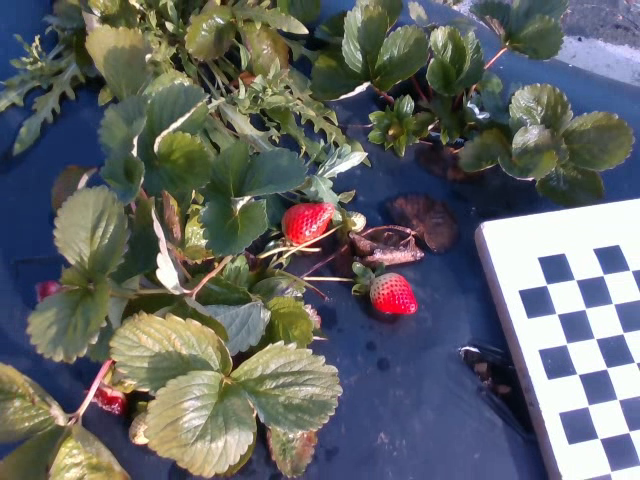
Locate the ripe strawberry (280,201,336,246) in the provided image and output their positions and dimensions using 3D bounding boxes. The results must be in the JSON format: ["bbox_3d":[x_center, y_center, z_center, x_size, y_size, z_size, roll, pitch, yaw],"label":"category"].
[{"bbox_3d":[-0.009,-0.018,0.525,0.048,0.040,0.031,-36,-21,24],"label":"ripe strawberry"}]

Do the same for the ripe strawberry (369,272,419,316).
[{"bbox_3d":[0.056,0.043,0.509,0.043,0.035,0.030,39,-23,15],"label":"ripe strawberry"}]
